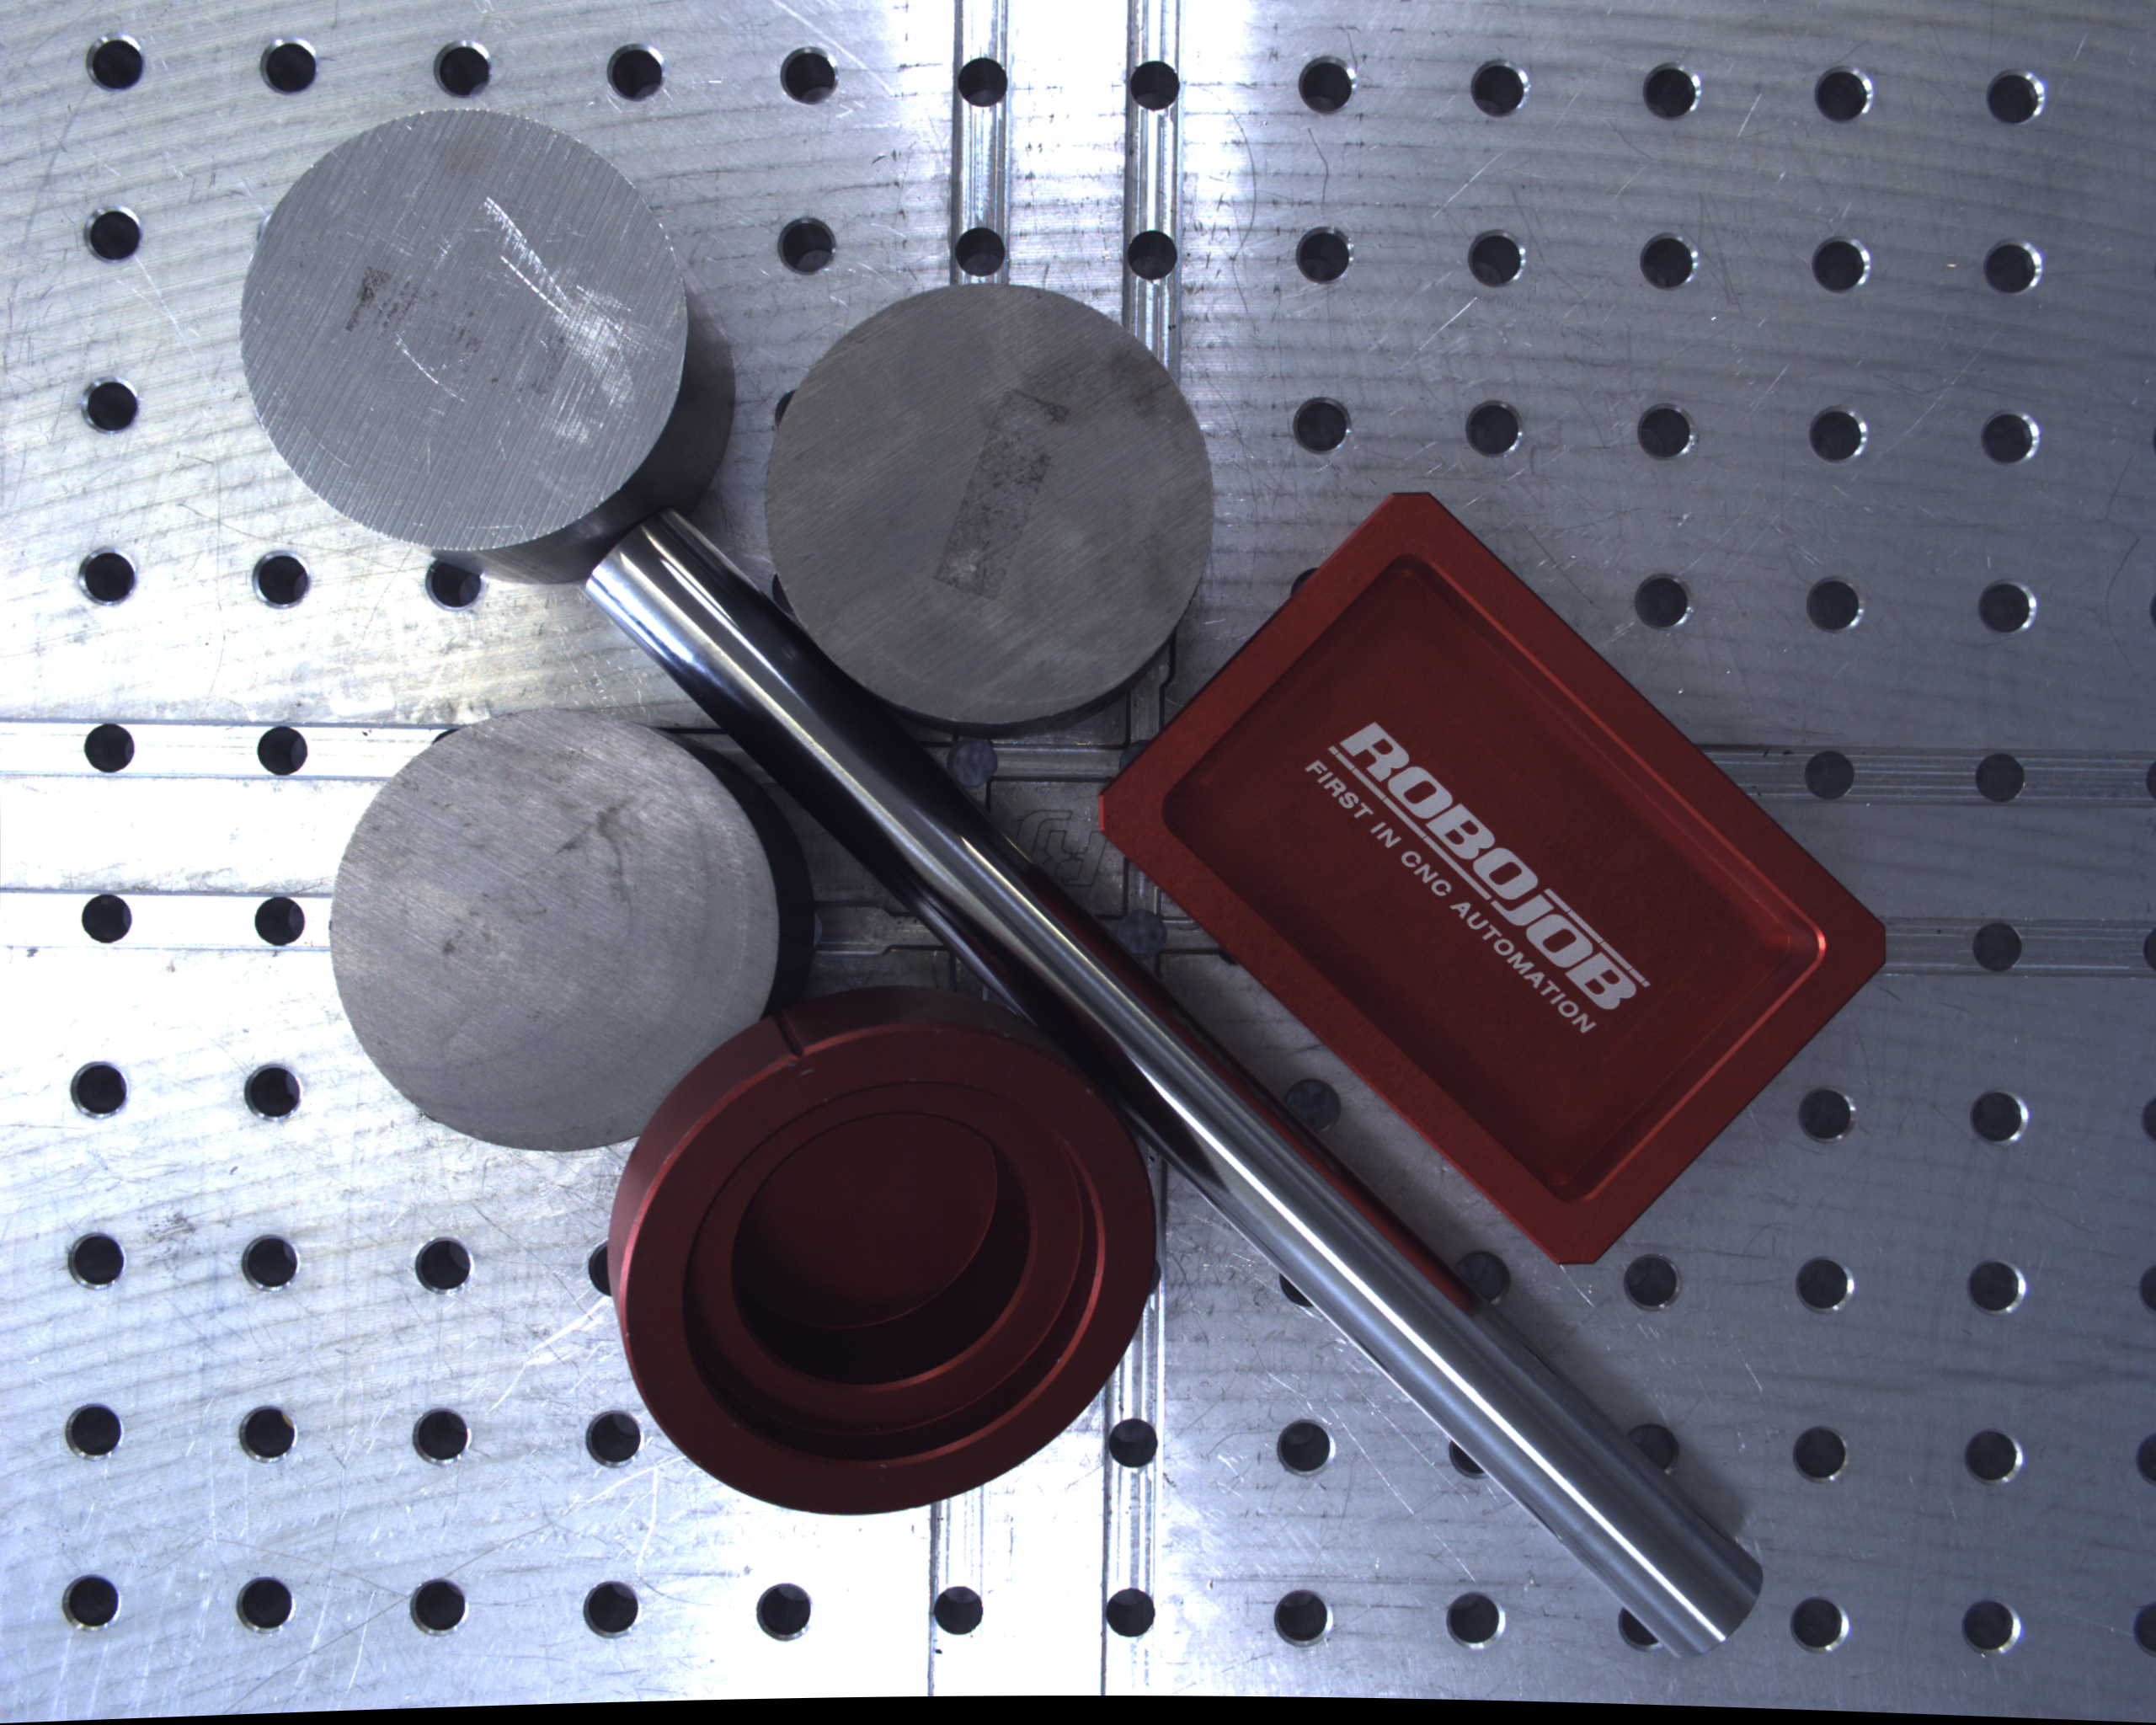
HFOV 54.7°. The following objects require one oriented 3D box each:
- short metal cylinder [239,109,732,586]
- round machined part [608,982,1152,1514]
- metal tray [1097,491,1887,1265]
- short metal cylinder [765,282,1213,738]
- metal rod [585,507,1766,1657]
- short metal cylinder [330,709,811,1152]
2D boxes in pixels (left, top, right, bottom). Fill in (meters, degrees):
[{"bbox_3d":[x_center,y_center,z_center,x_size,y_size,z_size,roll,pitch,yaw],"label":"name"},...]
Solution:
[{"bbox_3d":[-0.110,-0.096,0.400,0.081,0.050,0.080,0,90,0],"label":"short metal cylinder"},{"bbox_3d":[-0.039,0.069,0.394,0.099,0.042,0.097,-5,107,-18],"label":"round machined part"},{"bbox_3d":[0.079,0.003,0.410,0.130,0.030,0.090,44,90,0],"label":"metal tray"},{"bbox_3d":[-0.016,-0.065,0.400,0.081,0.050,0.080,0,90,0],"label":"short metal cylinder"},{"bbox_3d":[0.019,0.043,0.414,0.300,0.025,0.025,44,90,0],"label":"metal rod"},{"bbox_3d":[-0.094,0.012,0.400,0.081,0.050,0.080,0,90,0],"label":"short metal cylinder"}]
